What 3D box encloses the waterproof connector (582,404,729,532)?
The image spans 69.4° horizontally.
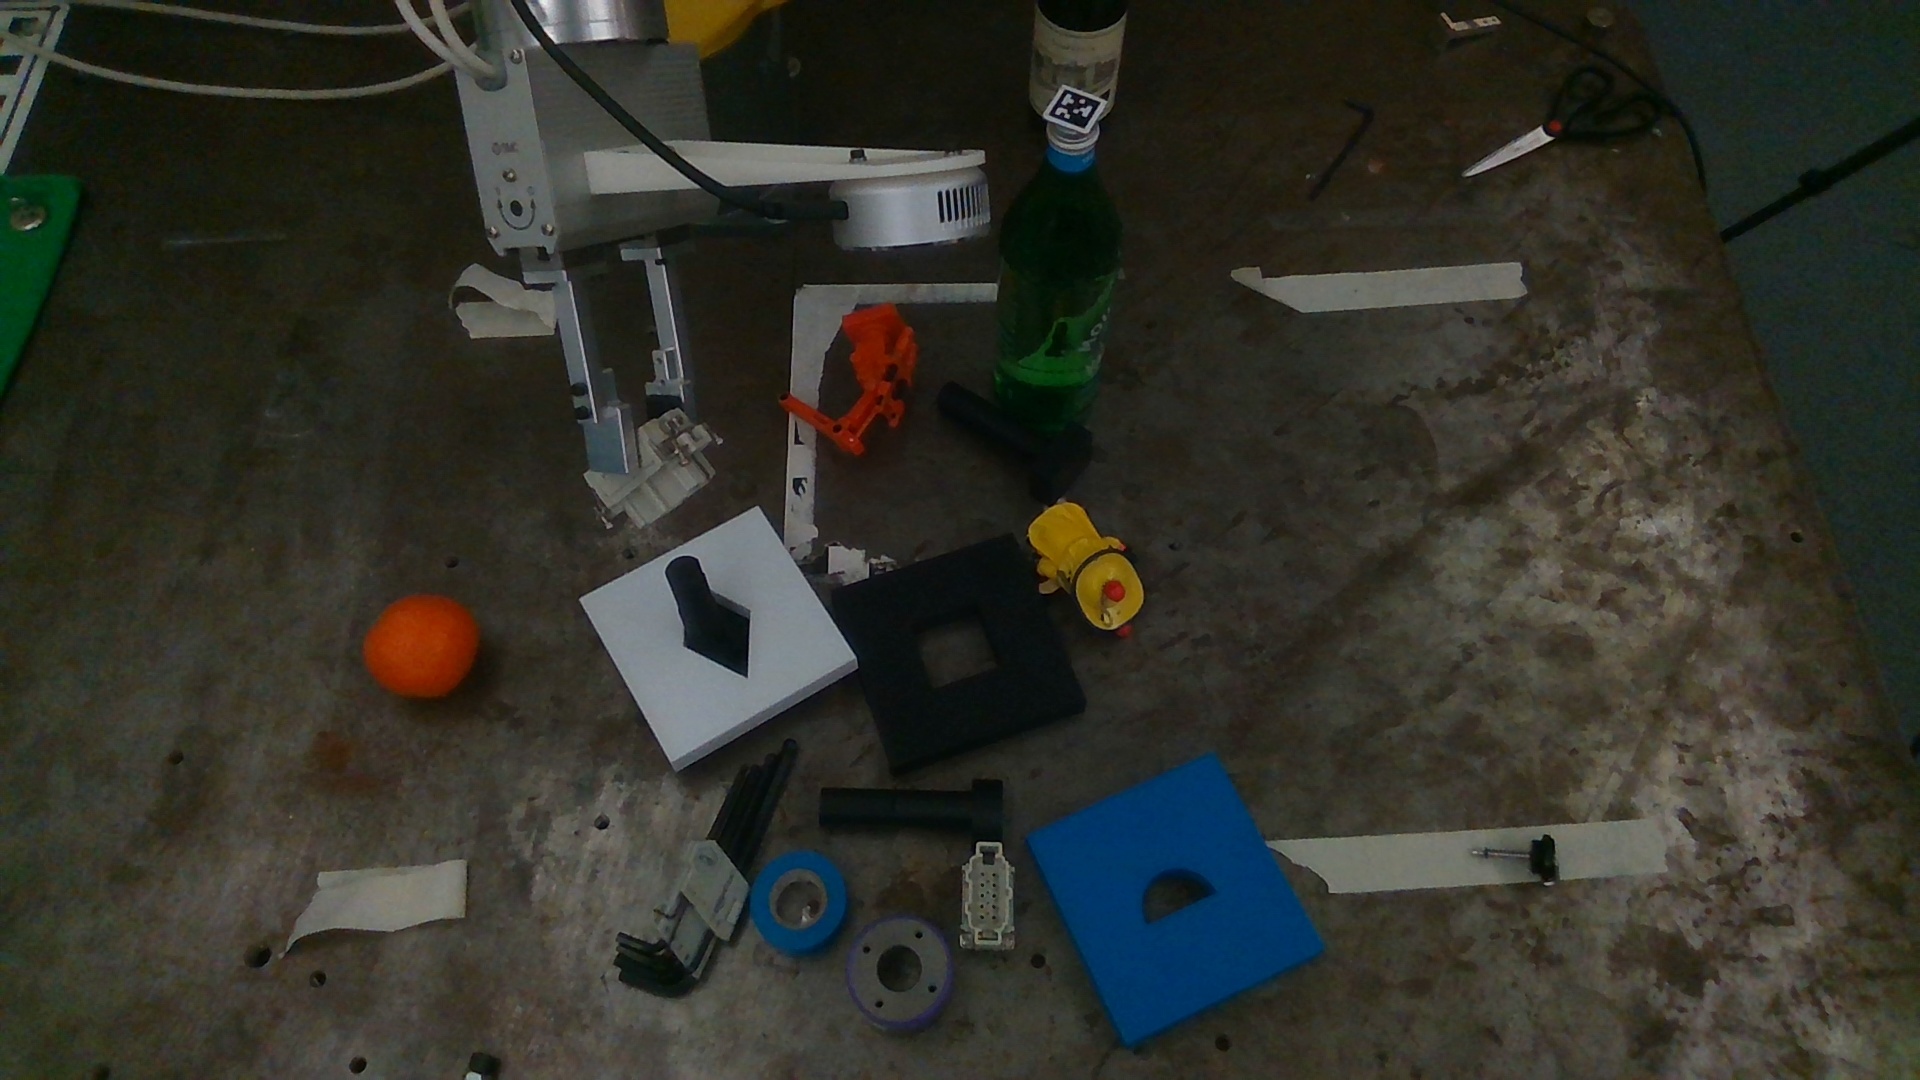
[{"bbox_3d":[-0.140,-0.032,0.635,0.038,0.069,0.036,54,28,-4],"label":"waterproof connector"}]
